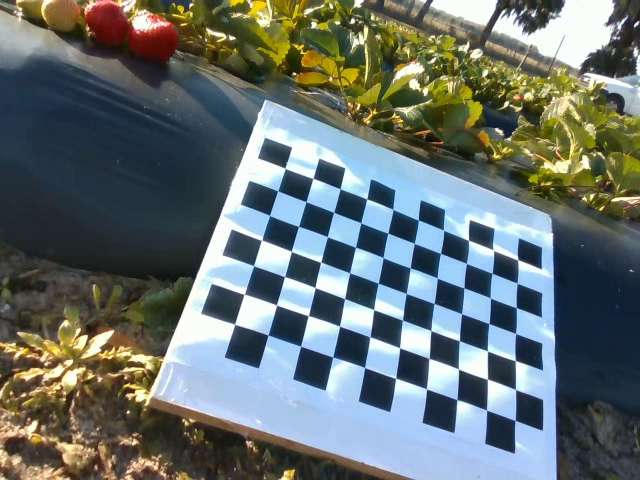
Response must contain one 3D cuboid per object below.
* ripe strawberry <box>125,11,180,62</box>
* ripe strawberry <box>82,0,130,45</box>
[{"bbox_3d":[-0.154,-0.194,0.571,0.056,0.052,0.067,-28,20,-33],"label":"ripe strawberry"},{"bbox_3d":[-0.206,-0.209,0.566,0.050,0.044,0.061,41,9,3],"label":"ripe strawberry"}]
